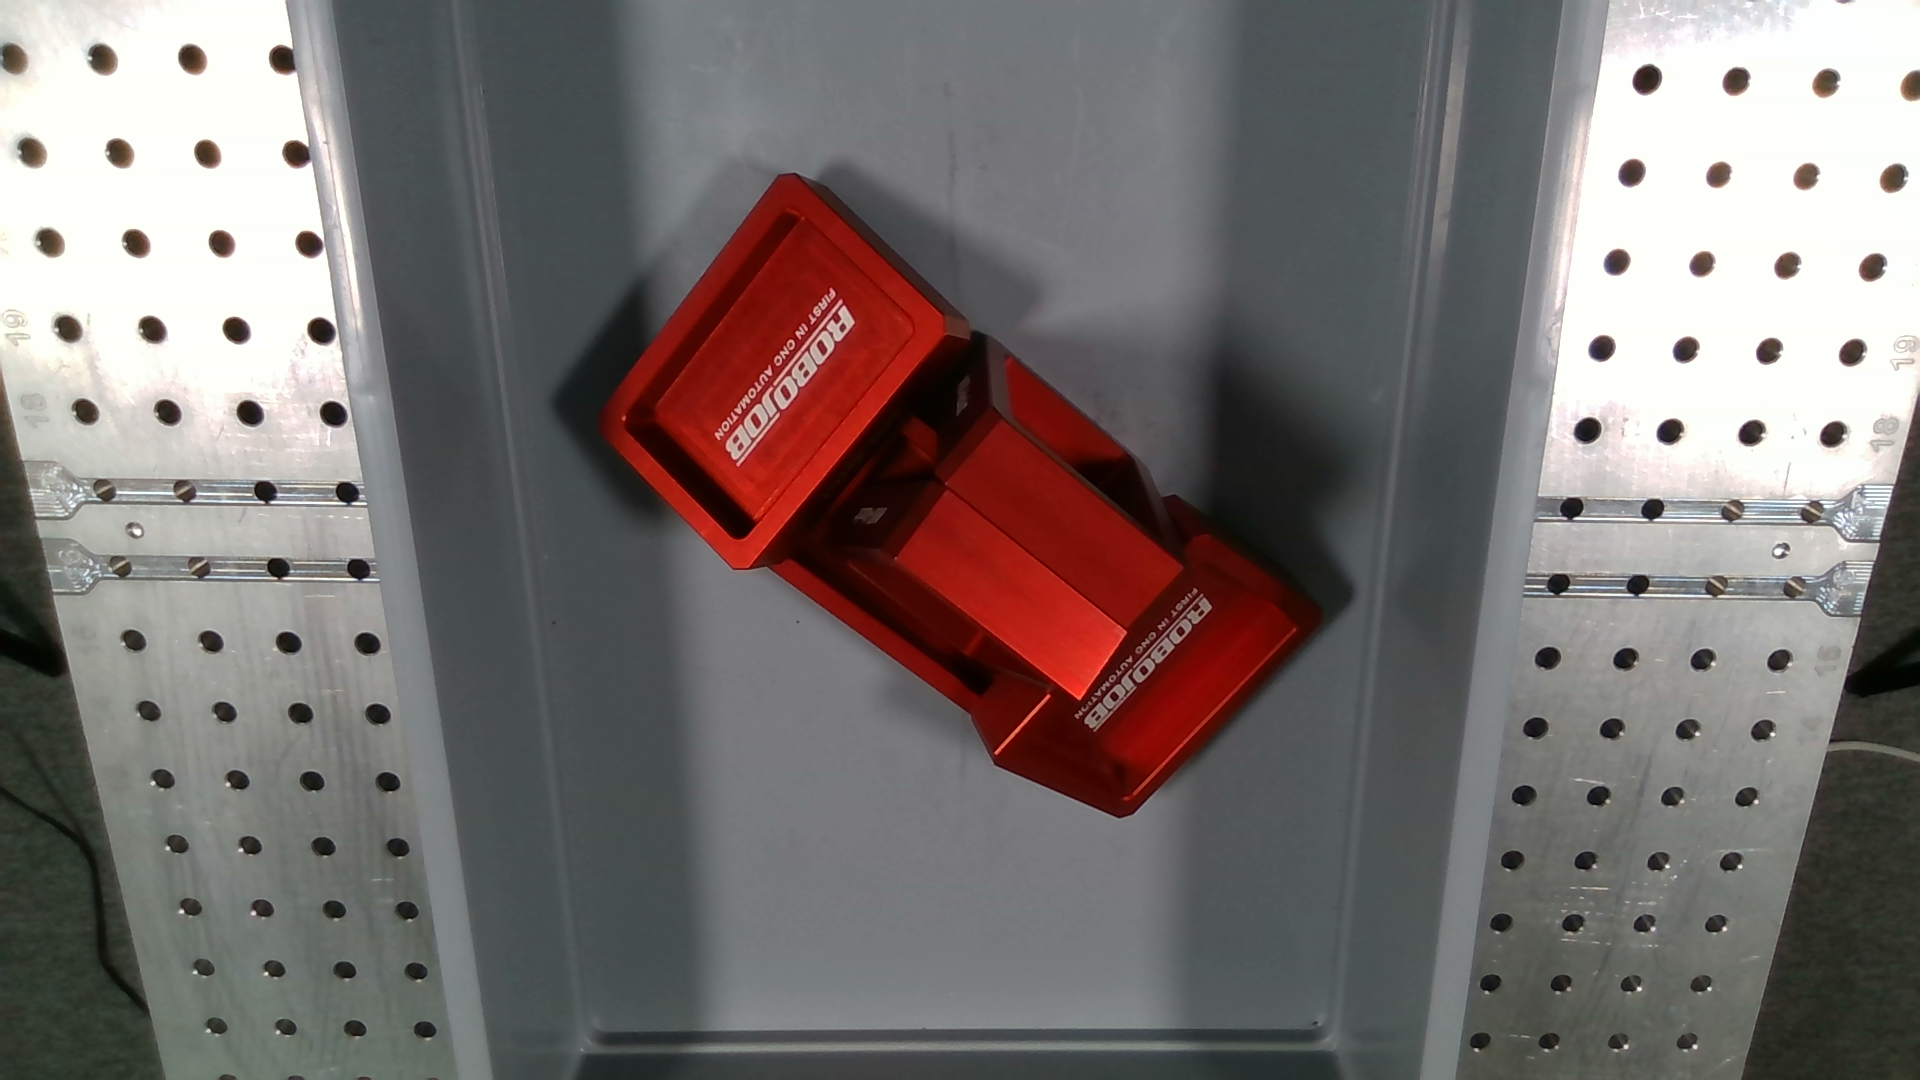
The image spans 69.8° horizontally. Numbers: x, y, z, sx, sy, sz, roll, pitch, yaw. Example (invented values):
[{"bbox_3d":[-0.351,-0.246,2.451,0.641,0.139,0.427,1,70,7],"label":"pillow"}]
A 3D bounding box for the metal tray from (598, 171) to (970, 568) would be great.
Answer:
[{"bbox_3d":[-0.070,-0.064,0.538,0.090,0.030,0.130,44,106,10],"label":"metal tray"}]

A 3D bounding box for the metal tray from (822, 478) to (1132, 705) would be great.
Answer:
[{"bbox_3d":[0.001,0.016,0.521,0.090,0.130,0.030,38,82,-13],"label":"metal tray"}]

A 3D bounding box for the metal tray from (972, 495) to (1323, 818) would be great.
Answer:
[{"bbox_3d":[0.079,0.053,0.582,0.090,0.030,0.130,29,110,-37],"label":"metal tray"}]

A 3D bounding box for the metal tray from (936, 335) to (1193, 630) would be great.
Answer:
[{"bbox_3d":[0.035,-0.026,0.516,0.090,0.130,0.030,38,105,-12],"label":"metal tray"}]

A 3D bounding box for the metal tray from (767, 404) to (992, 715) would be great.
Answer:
[{"bbox_3d":[-0.009,0.007,0.583,0.130,0.030,0.090,37,106,-13],"label":"metal tray"}]
